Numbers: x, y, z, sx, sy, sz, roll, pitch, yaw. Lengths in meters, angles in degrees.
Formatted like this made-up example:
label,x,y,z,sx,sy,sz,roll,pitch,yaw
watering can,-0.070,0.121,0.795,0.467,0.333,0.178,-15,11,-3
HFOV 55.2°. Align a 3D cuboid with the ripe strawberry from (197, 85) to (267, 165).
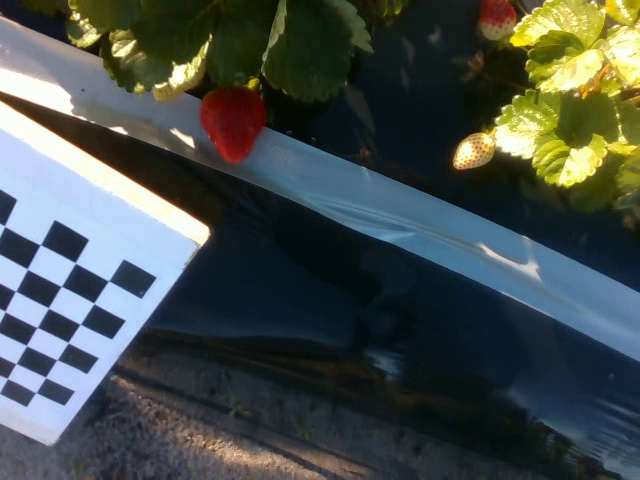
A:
label,x,y,z,sx,sy,sz,roll,pitch,yaw
ripe strawberry,-0.055,-0.074,0.379,0.045,0.063,0.049,-22,-33,24
